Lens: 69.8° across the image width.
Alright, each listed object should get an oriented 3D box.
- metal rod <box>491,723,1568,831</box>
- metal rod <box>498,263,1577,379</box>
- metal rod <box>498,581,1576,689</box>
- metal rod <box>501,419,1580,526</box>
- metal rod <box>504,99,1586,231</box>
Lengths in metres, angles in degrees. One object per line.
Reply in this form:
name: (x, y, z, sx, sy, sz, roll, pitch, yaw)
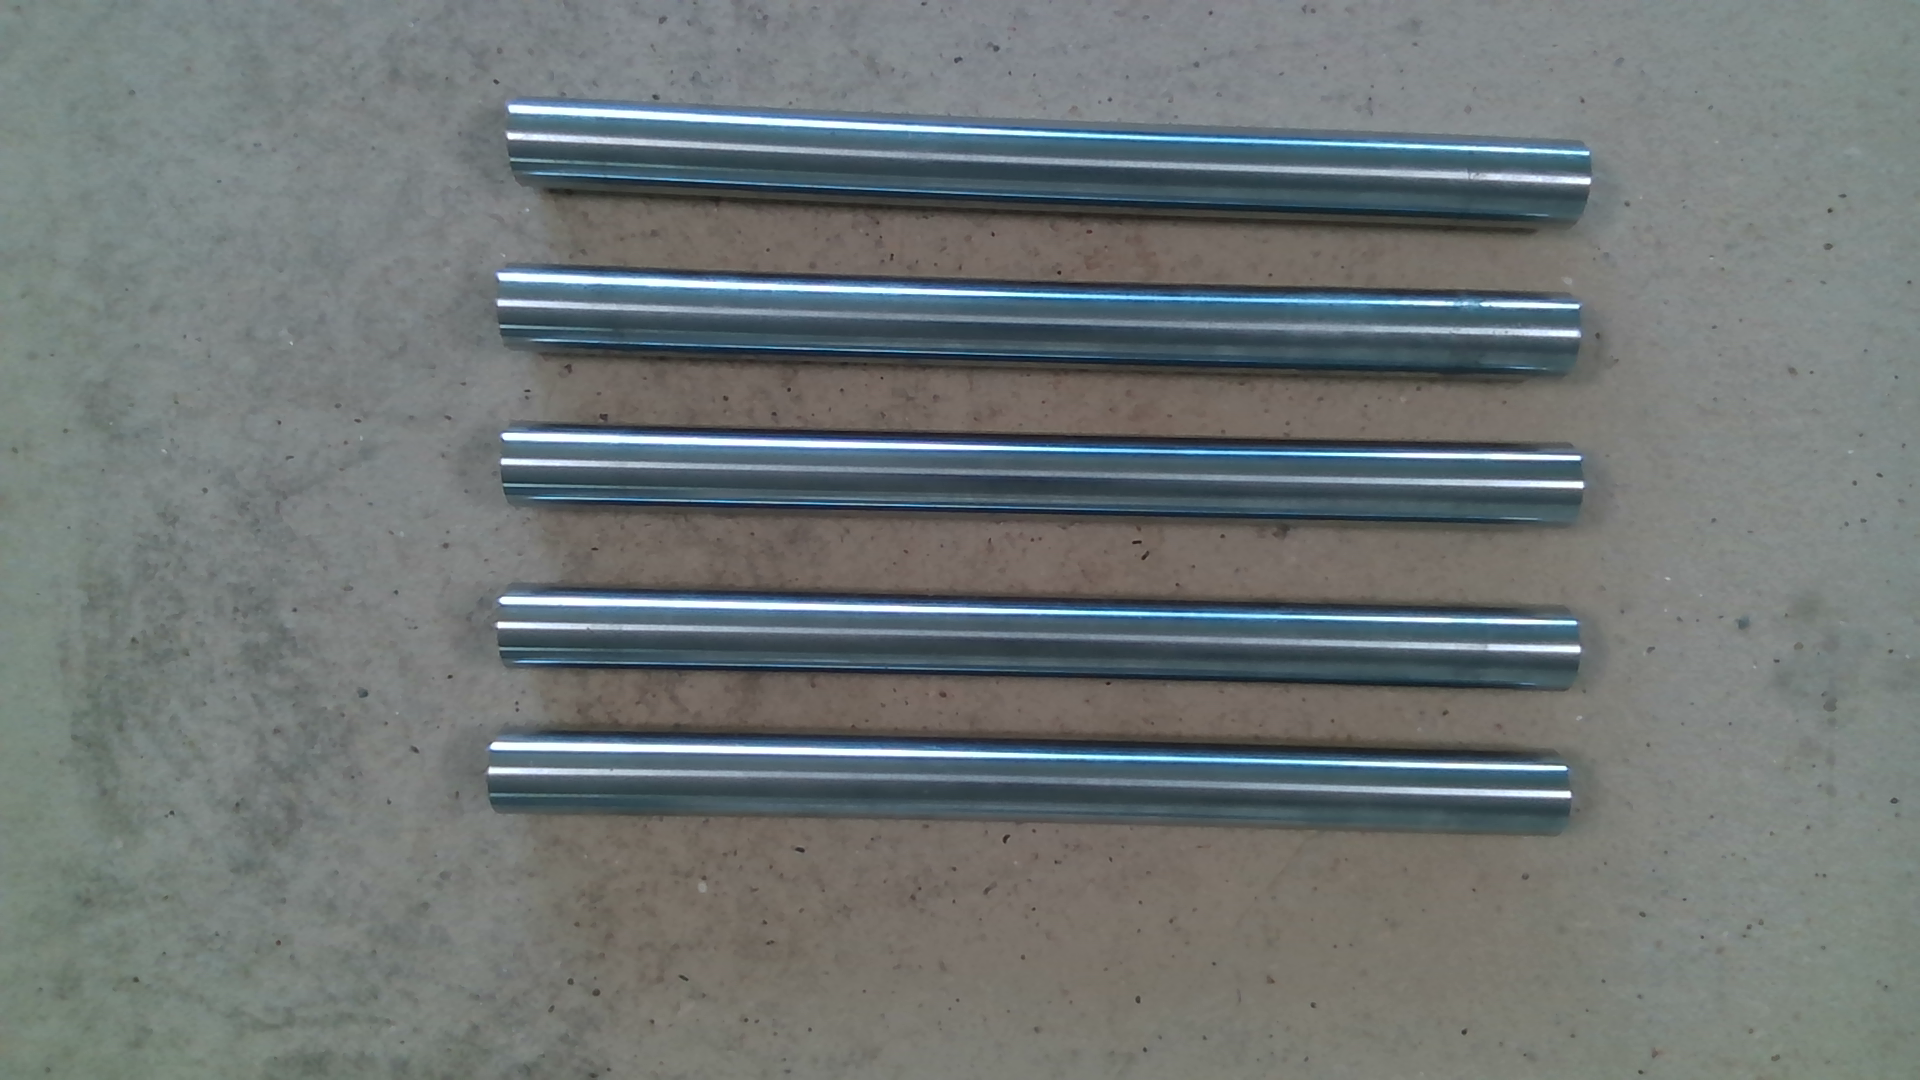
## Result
metal rod: (0.019, 0.068, 0.396, 0.300, 0.025, 0.025, 1, 90, 0)
metal rod: (0.022, -0.063, 0.395, 0.300, 0.025, 0.025, 2, 90, 0)
metal rod: (0.022, 0.027, 0.396, 0.300, 0.025, 0.025, 1, 90, 0)
metal rod: (0.022, -0.019, 0.395, 0.300, 0.025, 0.025, 1, 90, 0)
metal rod: (0.024, -0.107, 0.394, 0.300, 0.025, 0.025, 2, 90, 0)
